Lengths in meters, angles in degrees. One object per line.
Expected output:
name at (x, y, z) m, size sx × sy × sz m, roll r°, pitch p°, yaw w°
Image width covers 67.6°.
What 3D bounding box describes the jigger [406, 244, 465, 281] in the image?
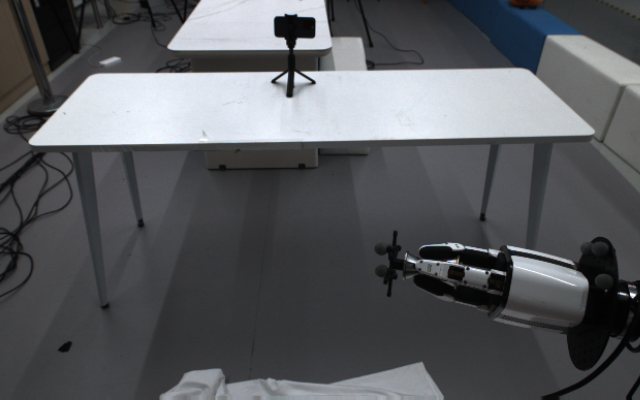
jigger at (0.153, 0.085, 0.634) m, size 0.071 × 0.043 × 0.043 m, roll 4°, pitch 34°, yaw 18°
